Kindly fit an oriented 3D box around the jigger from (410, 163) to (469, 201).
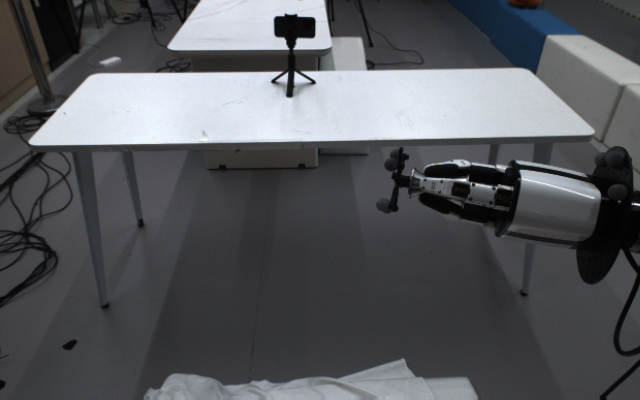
[{"bbox_3d":[0.153,-0.019,0.602,0.071,0.043,0.043,10,35,16],"label":"jigger"}]
